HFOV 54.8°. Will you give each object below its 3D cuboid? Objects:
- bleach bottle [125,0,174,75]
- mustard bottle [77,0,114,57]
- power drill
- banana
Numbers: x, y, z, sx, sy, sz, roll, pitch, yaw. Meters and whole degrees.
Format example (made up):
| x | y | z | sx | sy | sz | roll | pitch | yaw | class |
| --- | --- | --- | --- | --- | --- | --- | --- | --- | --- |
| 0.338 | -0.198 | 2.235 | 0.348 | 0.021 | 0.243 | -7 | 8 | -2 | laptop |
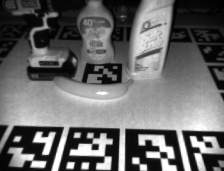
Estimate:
| x | y | z | sx | sy | sz | roll | pitch | yaw | class |
| --- | --- | --- | --- | --- | --- | --- | --- | --- | --- |
| 0.085 | -0.139 | 0.516 | 0.103 | 0.252 | 0.067 | -5 | 46 | -4 | bleach bottle |
| -0.042 | -0.168 | 0.573 | 0.096 | 0.192 | 0.058 | 2 | 44 | 1 | mustard bottle |
| -0.147 | -0.142 | 0.518 | 0.185 | 0.188 | 0.057 | 1 | 38 | -3 | power drill |
| -0.043 | -0.015 | 0.524 | 0.197 | 0.039 | 0.074 | 3 | 49 | 4 | banana |
